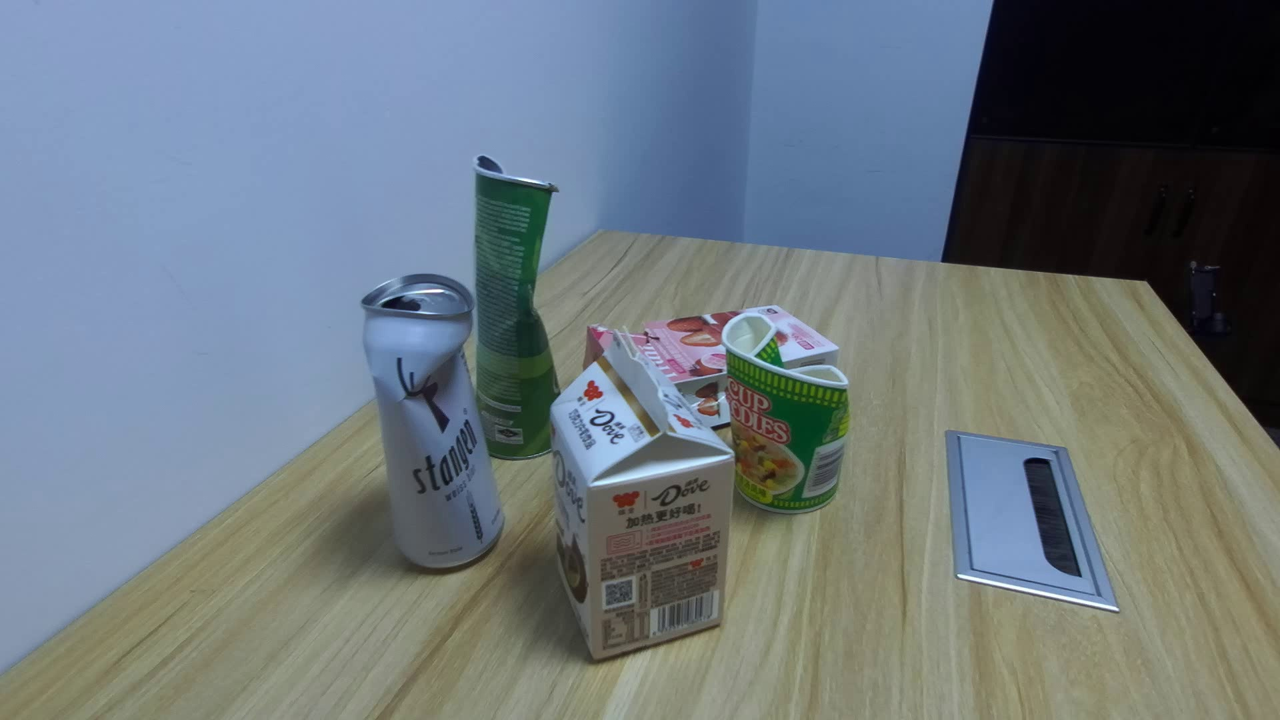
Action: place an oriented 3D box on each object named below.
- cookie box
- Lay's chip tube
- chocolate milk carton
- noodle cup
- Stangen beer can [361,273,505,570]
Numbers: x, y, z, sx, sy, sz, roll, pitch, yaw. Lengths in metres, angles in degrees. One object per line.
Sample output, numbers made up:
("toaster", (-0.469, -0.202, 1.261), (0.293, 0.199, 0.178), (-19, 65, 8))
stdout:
("cookie box", (0.057, 0.007, 0.567), (0.186, 0.059, 0.104), (-8, 31, -23))
("Lay's chip tube", (-0.087, -0.033, 0.486), (0.077, 0.201, 0.069), (13, 29, 22))
("chocolate milk carton", (-0.001, 0.063, 0.355), (0.074, 0.148, 0.075), (-9, 28, -18))
("noodle cup", (0.094, 0.034, 0.450), (0.075, 0.122, 0.083), (-1, 37, 14))
("Stangen beer can", (-0.114, 0.038, 0.396), (0.066, 0.162, 0.076), (-19, 34, -31))
